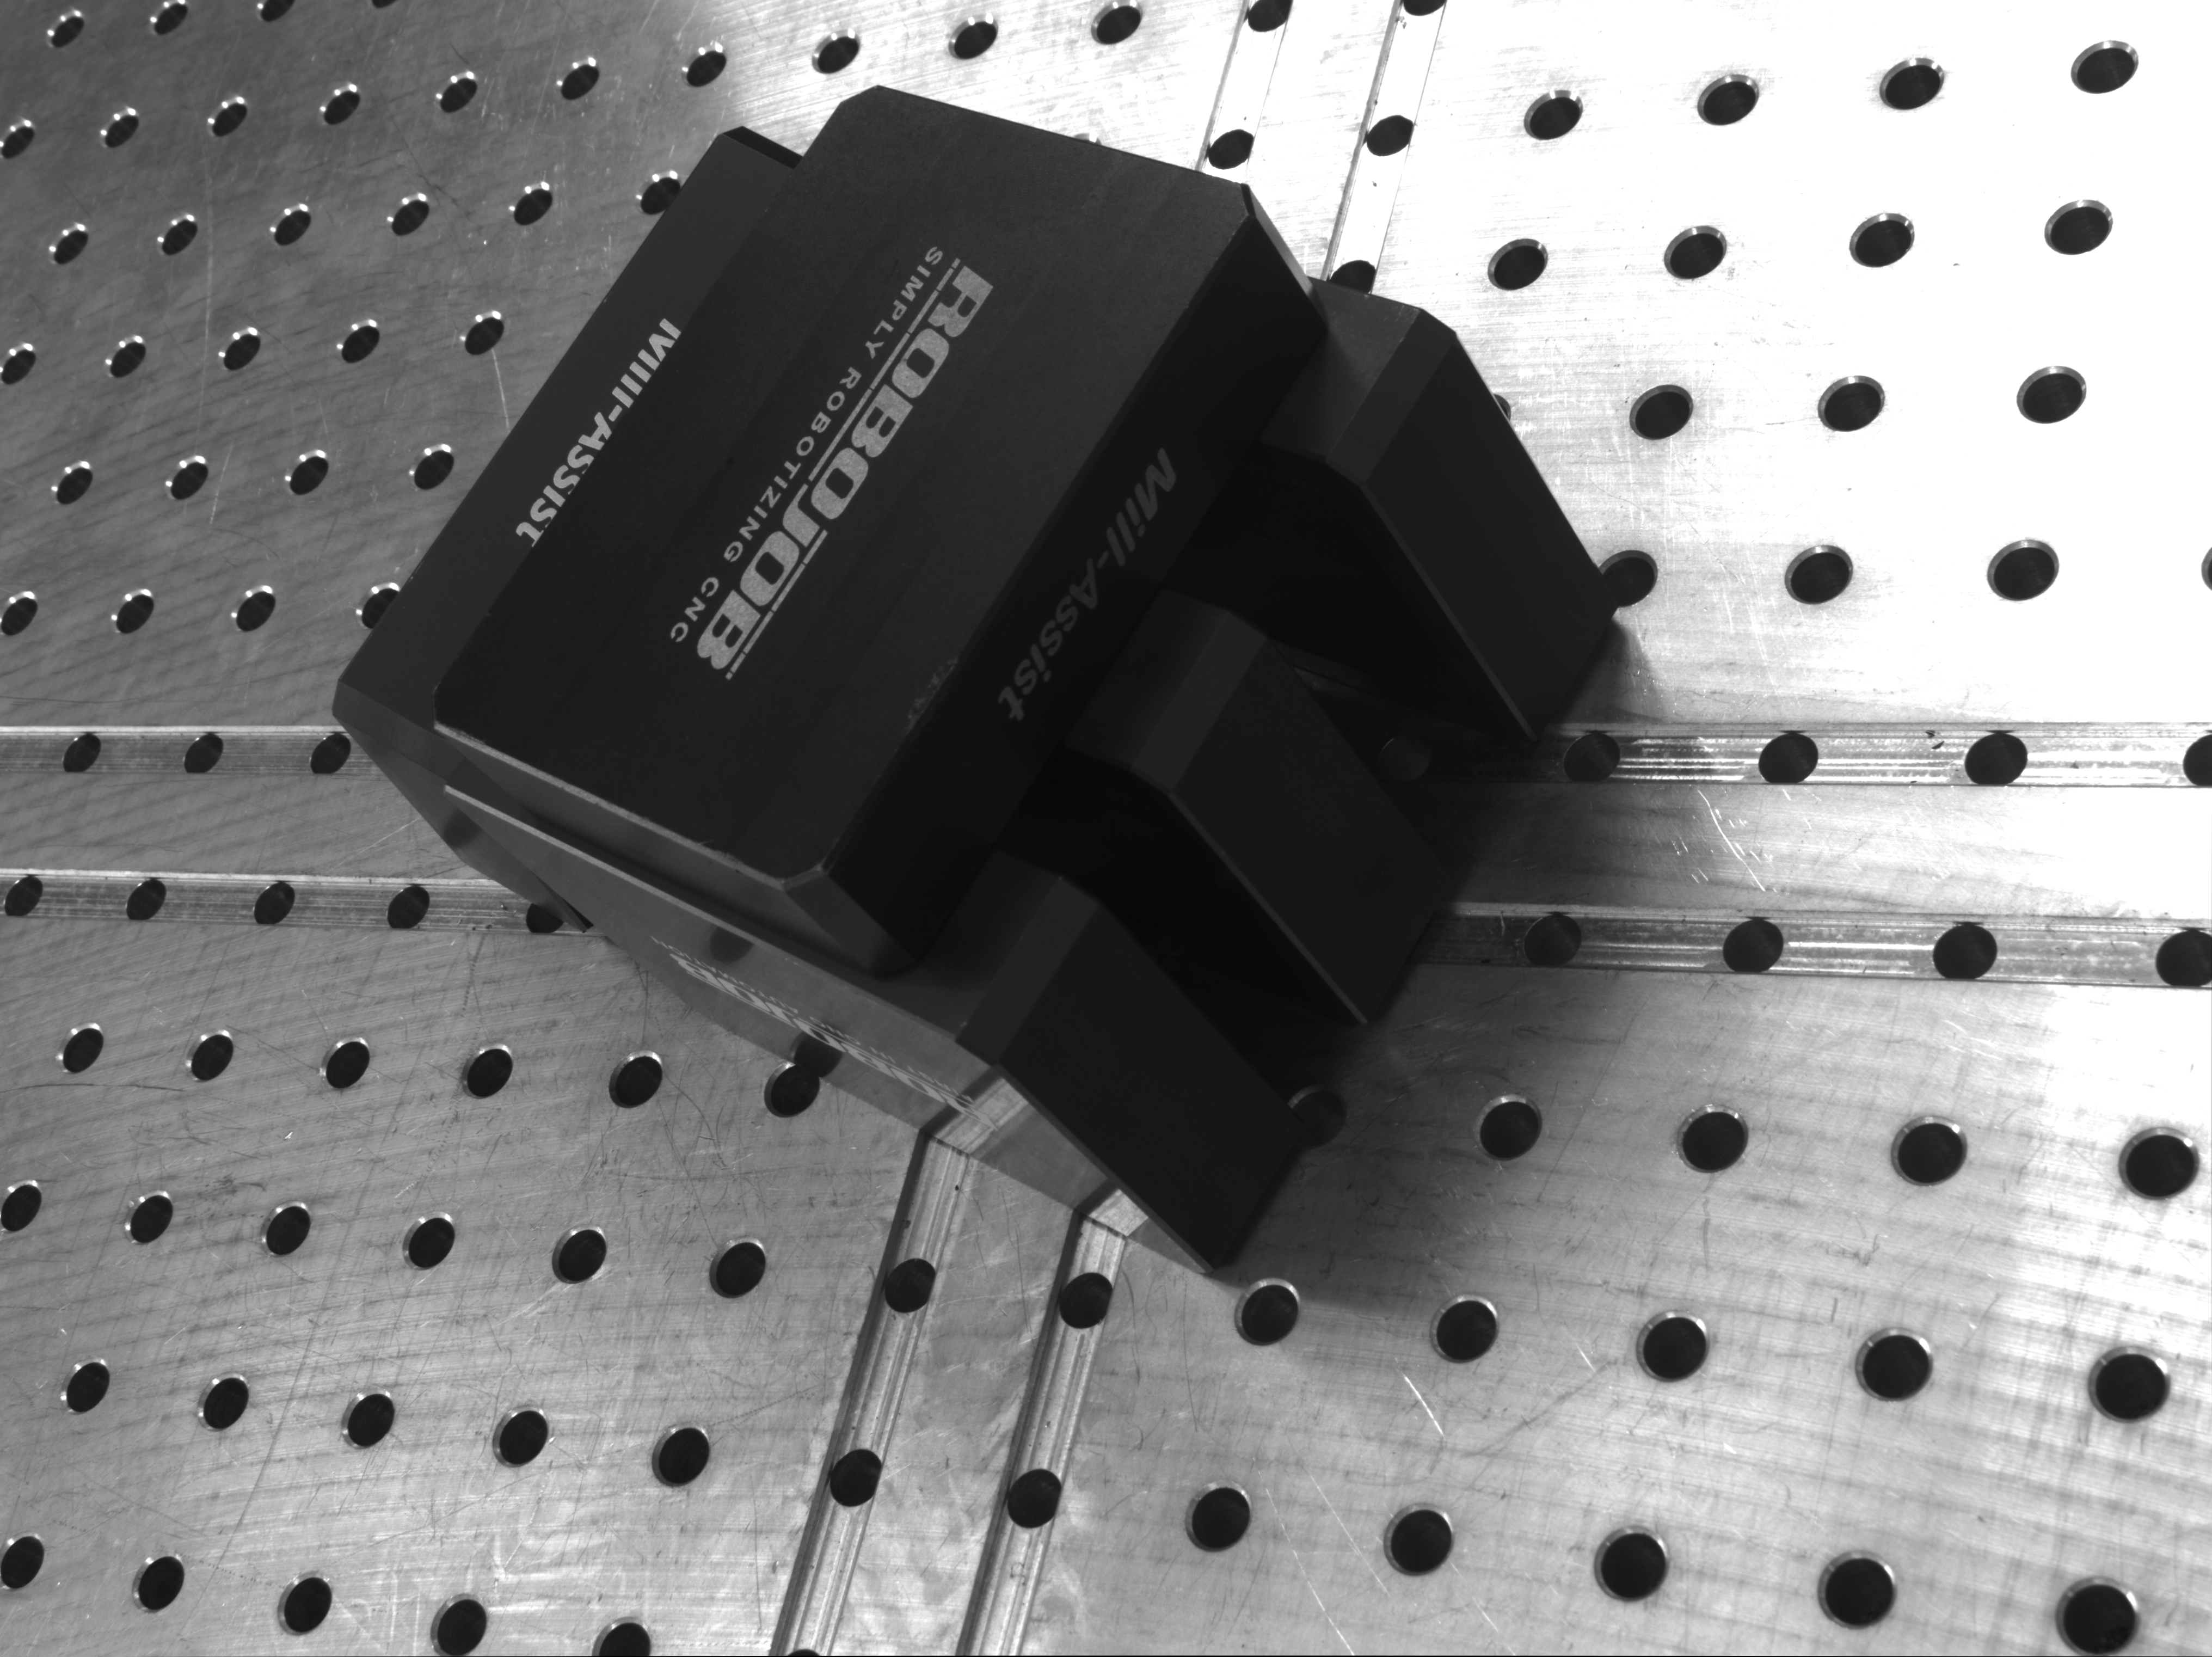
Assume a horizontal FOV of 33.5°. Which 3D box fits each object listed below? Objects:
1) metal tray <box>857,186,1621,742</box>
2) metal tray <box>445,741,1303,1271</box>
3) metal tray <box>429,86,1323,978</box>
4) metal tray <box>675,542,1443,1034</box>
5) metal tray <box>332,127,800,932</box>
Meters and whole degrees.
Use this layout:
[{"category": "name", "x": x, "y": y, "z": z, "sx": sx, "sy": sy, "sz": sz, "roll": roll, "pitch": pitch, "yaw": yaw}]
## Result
[{"category": "metal tray", "x": 0.016, "y": -0.066, "z": 0.638, "sx": 0.130, "sy": 0.090, "sz": 0.030, "roll": 23, "pitch": 74, "yaw": 37}, {"category": "metal tray", "x": -0.039, "y": 0.021, "z": 0.614, "sx": 0.130, "sy": 0.090, "sz": 0.030, "roll": 23, "pitch": 75, "yaw": 36}, {"category": "metal tray", "x": -0.036, "y": -0.050, "z": 0.578, "sx": 0.090, "sy": 0.030, "sz": 0.130, "roll": 23, "pitch": 74, "yaw": 37}, {"category": "metal tray", "x": -0.015, "y": -0.017, "z": 0.624, "sx": 0.130, "sy": 0.090, "sz": 0.030, "roll": 22, "pitch": 72, "yaw": 35}, {"category": "metal tray", "x": -0.083, "y": -0.053, "z": 0.681, "sx": 0.030, "sy": 0.090, "sz": 0.130, "roll": 29, "pitch": 76, "yaw": 15}]
